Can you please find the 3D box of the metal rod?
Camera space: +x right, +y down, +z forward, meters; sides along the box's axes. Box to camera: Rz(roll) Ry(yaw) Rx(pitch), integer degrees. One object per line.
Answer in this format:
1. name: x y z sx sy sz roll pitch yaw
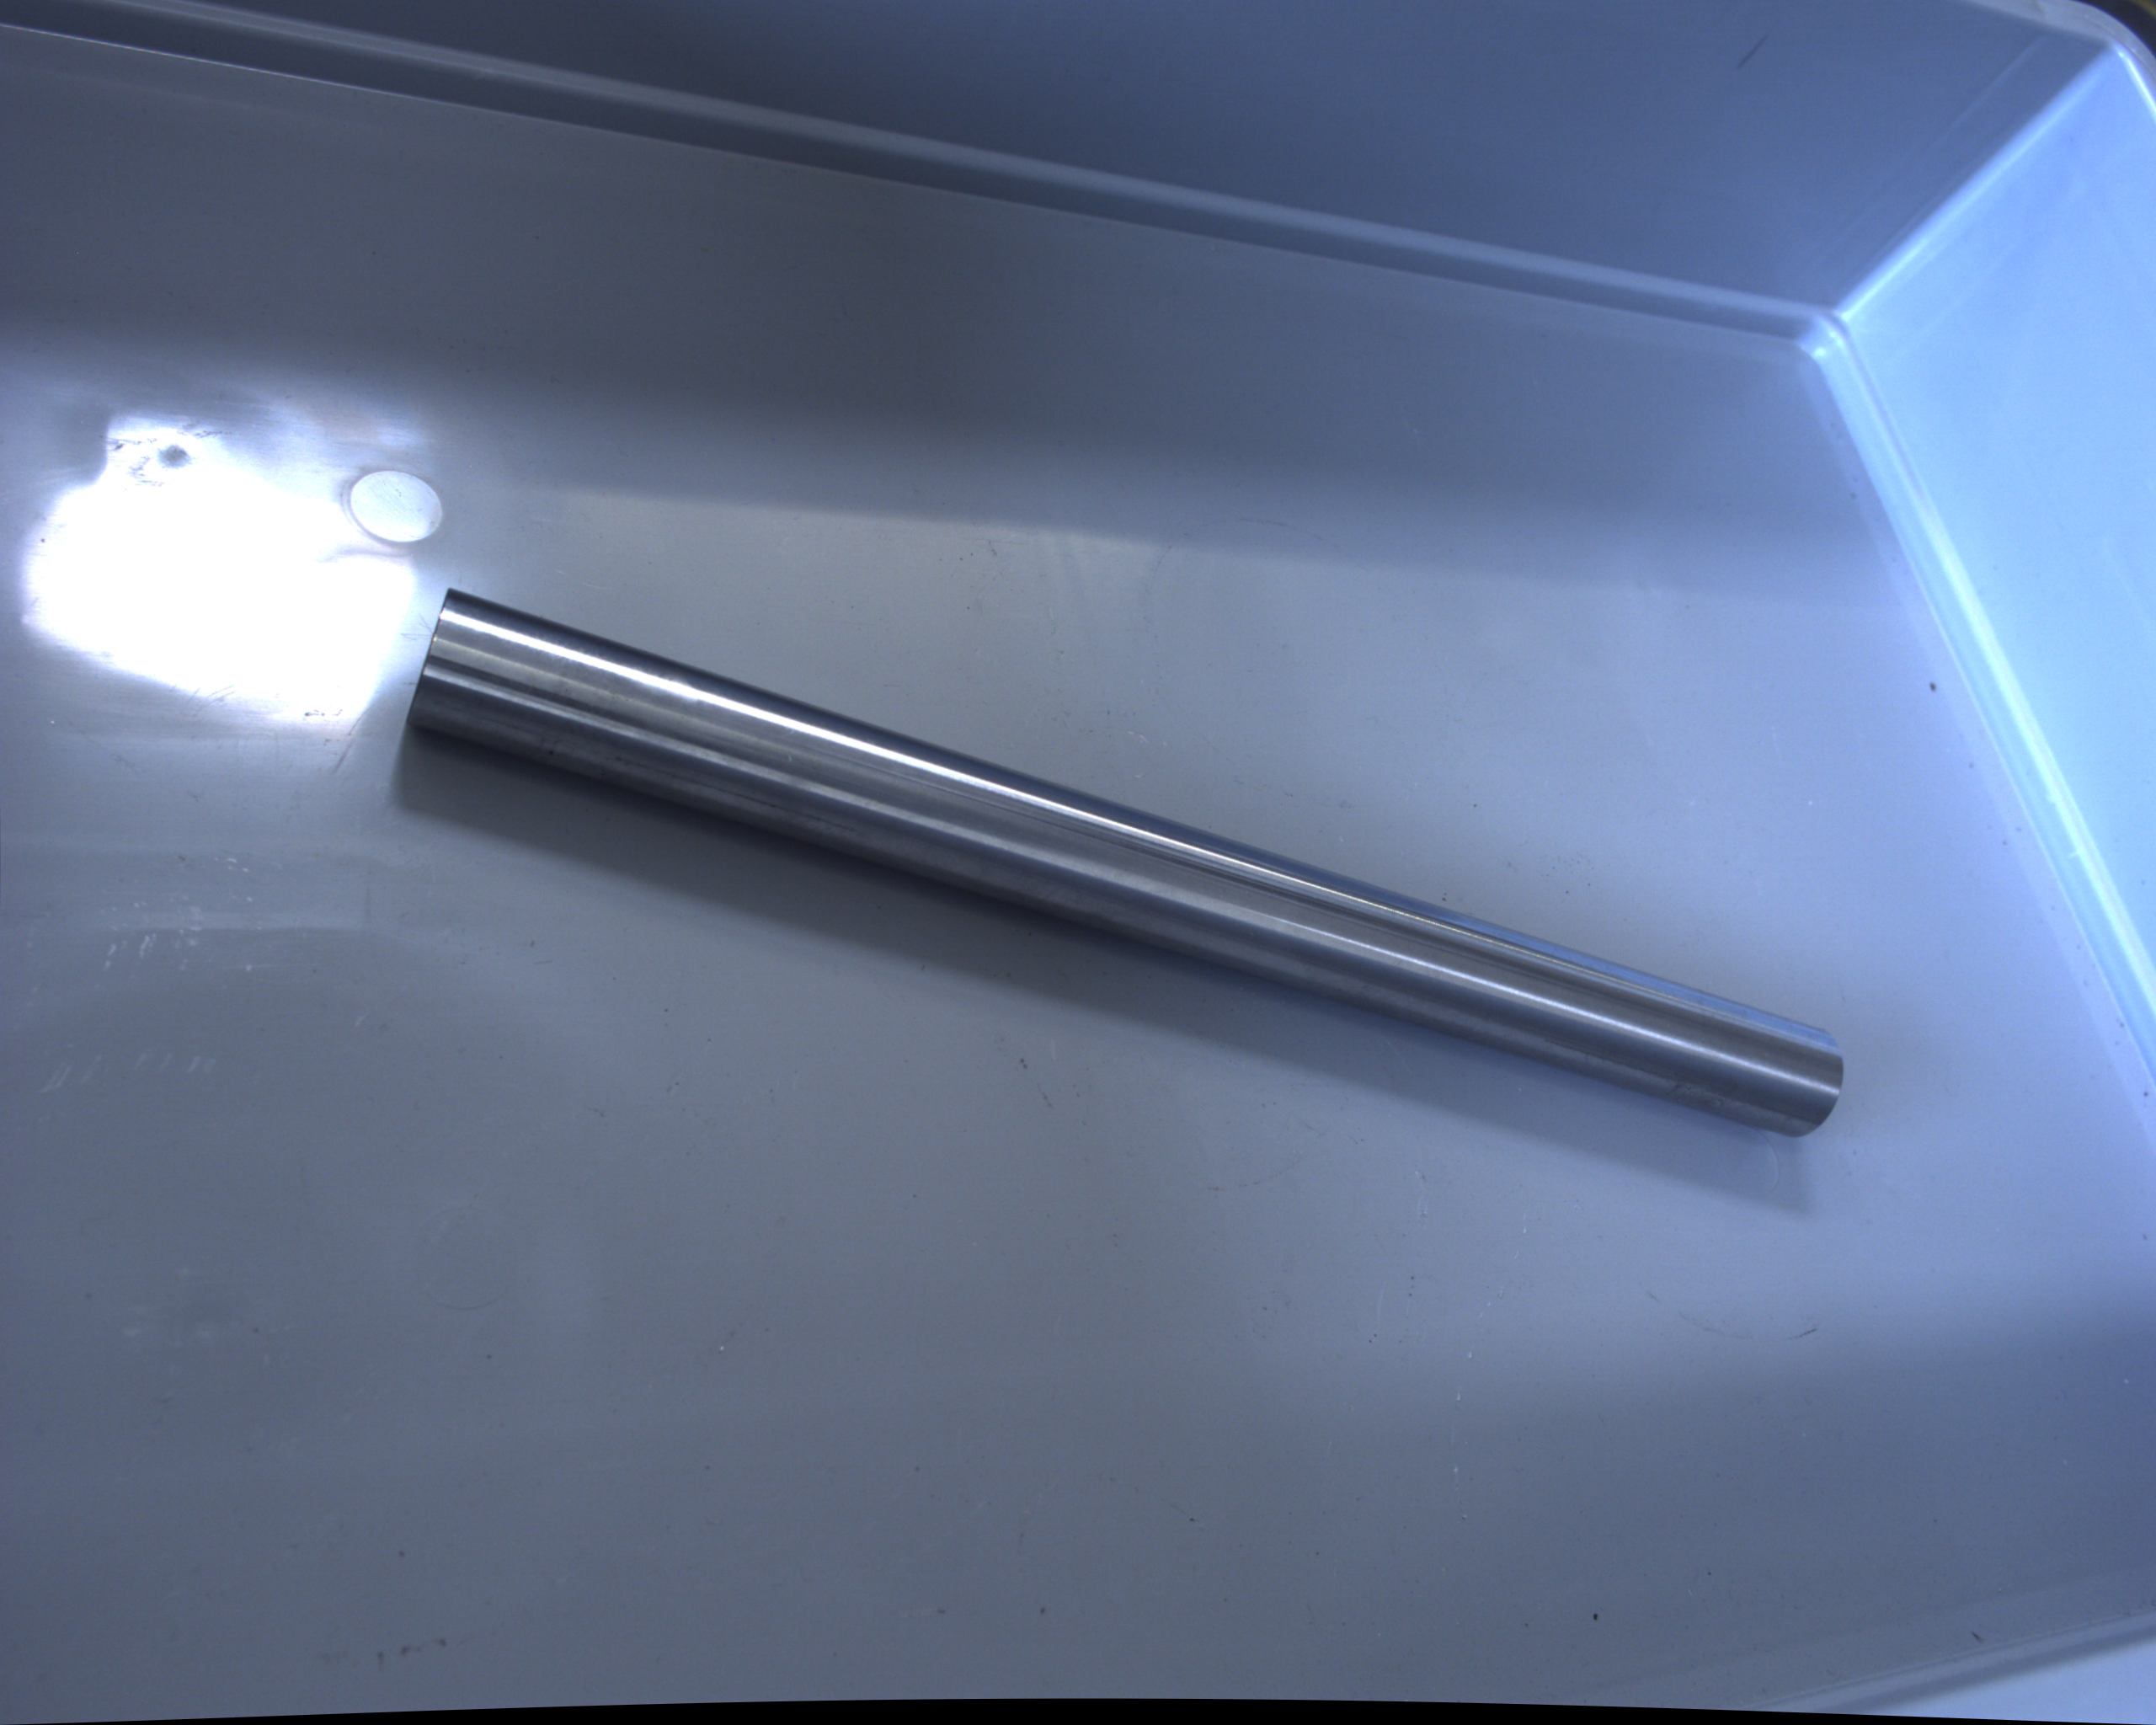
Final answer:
1. metal rod: 0.023 0.006 0.412 0.302 0.025 0.025 17 55 -18
